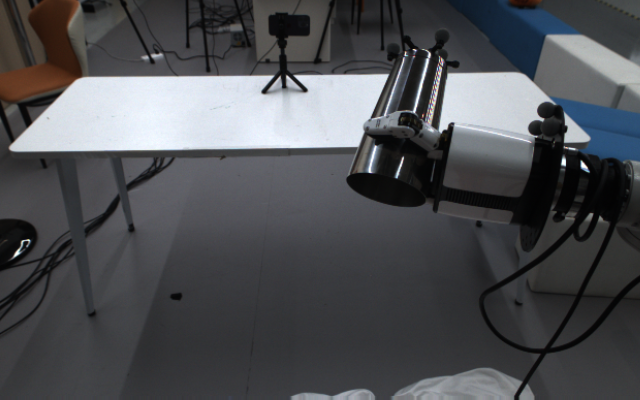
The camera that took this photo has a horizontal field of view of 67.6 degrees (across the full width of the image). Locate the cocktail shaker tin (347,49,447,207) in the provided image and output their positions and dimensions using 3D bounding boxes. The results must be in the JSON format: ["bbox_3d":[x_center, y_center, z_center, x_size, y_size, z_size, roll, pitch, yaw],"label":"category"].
[{"bbox_3d":[0.098,-0.087,0.567,0.093,0.093,0.170,14,72,16],"label":"cocktail shaker tin"}]
